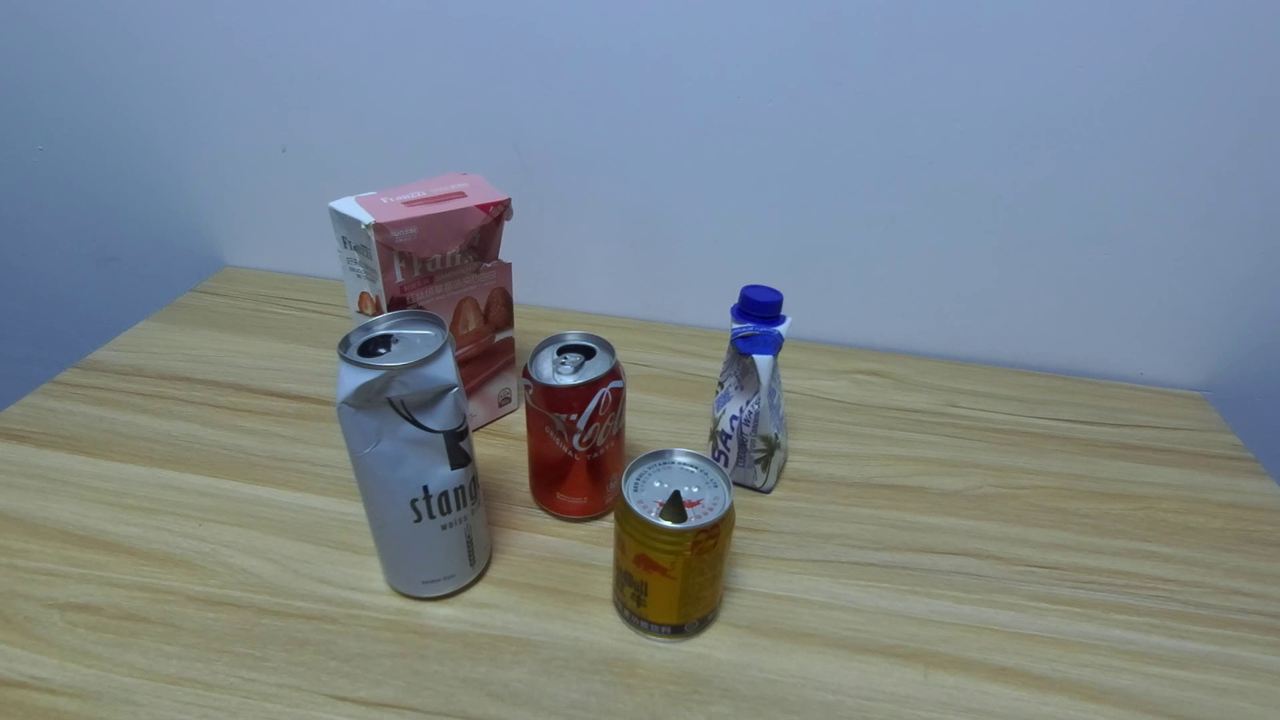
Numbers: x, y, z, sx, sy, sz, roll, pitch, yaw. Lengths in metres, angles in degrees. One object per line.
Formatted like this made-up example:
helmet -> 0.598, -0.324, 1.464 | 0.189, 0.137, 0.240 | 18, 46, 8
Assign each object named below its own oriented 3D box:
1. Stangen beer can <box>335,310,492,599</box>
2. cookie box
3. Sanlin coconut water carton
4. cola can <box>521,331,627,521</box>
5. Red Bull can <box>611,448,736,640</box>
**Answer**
Stangen beer can -> -0.124, 0.057, 0.396 | 0.066, 0.166, 0.065 | -10, 34, -16
cookie box -> -0.144, -0.030, 0.506 | 0.105, 0.186, 0.059 | -24, 44, -35
Sanlin coconut water carton -> 0.071, 0.022, 0.482 | 0.056, 0.145, 0.068 | 8, 40, 20
cola can -> -0.039, 0.045, 0.467 | 0.066, 0.117, 0.072 | -15, 36, -26
Red Bull can -> 0.018, 0.104, 0.400 | 0.067, 0.093, 0.067 | 2, 35, -1
